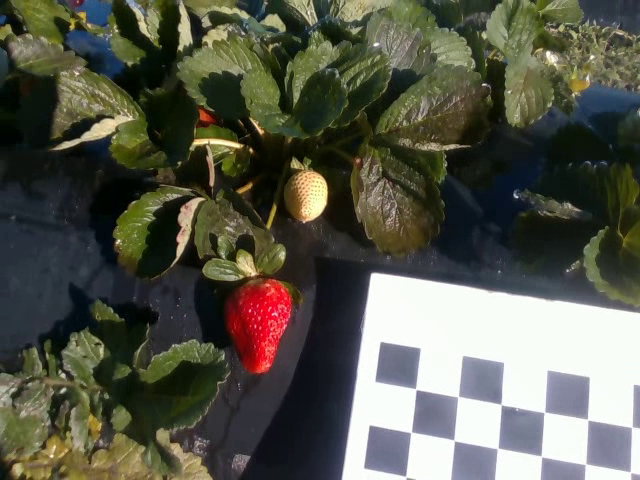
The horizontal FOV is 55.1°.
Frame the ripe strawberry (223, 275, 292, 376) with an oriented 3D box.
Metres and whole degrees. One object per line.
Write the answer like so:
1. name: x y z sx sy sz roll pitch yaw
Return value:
1. ripe strawberry: -0.038 0.053 0.374 0.048 0.069 0.040 -9 -22 1
